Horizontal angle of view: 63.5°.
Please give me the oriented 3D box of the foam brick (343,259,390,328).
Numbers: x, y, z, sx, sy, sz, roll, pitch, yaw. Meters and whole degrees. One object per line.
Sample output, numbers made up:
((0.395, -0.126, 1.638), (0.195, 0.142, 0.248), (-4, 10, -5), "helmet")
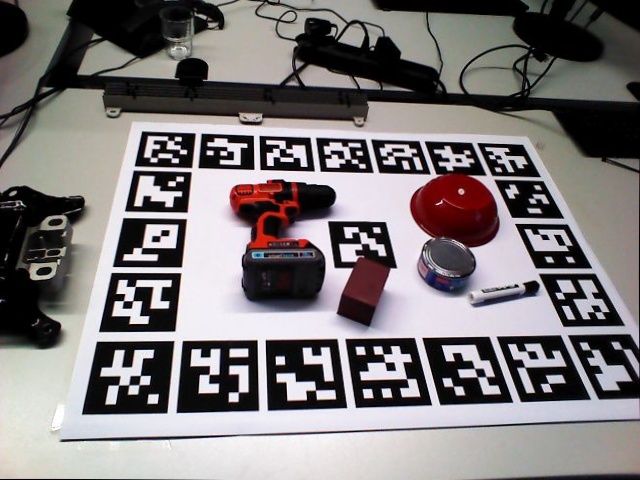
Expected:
((0.072, 0.077, 0.747), (0.051, 0.053, 0.077), (19, 50, 7), "foam brick")

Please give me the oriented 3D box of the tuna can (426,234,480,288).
((0.210, 0.033, 0.807), (0.086, 0.034, 0.085), (5, 48, -6), "tuna can")

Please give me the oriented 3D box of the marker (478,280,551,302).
((0.299, 0.077, 0.788), (0.121, 0.020, 0.019), (-7, 52, -14), "marker")

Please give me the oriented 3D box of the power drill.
((-0.051, -0.011, 0.802), (0.184, 0.057, 0.186), (2, 46, -11), "power drill")

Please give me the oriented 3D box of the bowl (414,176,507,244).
((0.248, -0.064, 0.897), (0.162, 0.055, 0.161), (1, 42, -2), "bowl")
